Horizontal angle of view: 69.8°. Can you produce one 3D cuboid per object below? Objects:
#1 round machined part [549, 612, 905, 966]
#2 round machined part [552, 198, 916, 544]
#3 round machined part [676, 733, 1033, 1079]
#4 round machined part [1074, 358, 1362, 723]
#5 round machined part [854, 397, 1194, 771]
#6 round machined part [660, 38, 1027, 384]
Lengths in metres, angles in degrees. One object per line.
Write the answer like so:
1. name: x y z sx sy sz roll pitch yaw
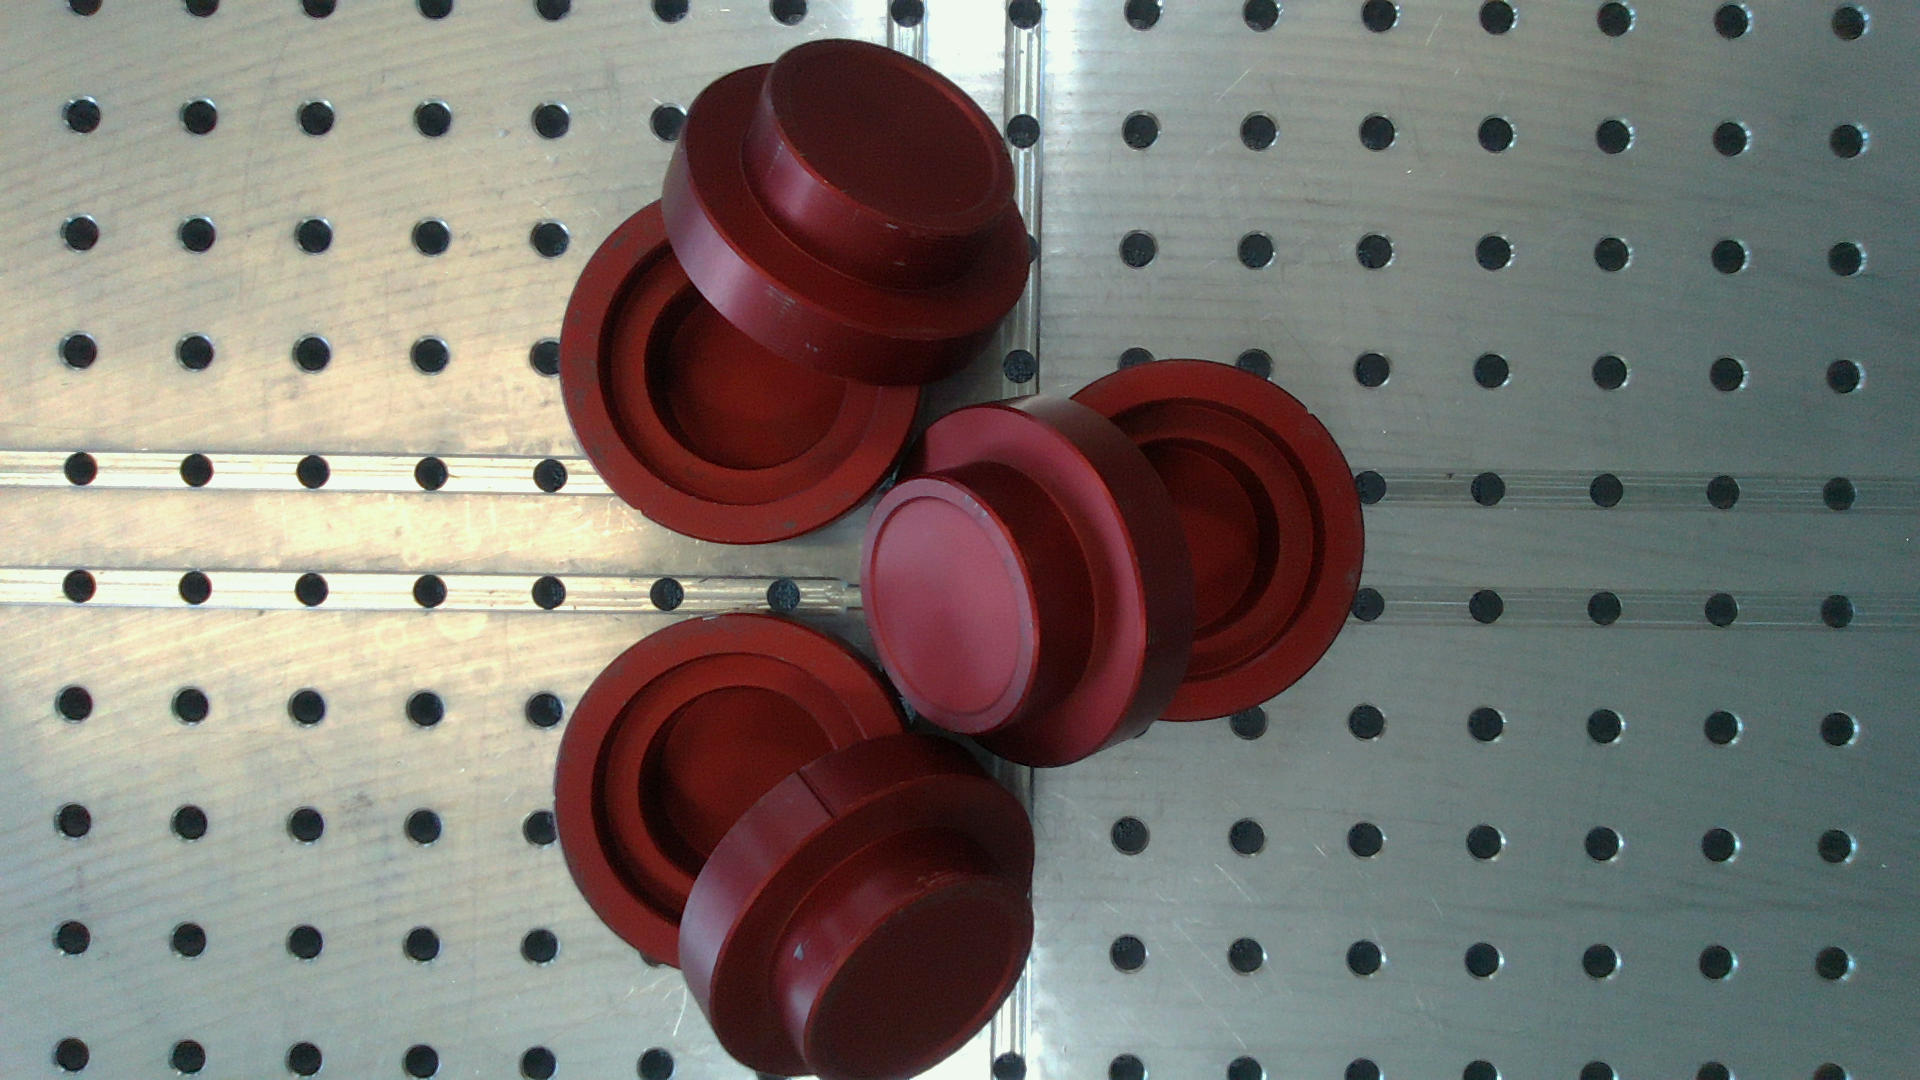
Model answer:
1. round machined part: -0.061 0.068 0.388 0.098 0.042 0.098 0 90 0
2. round machined part: -0.060 -0.048 0.388 0.098 0.042 0.098 0 90 0
3. round machined part: -0.020 0.103 0.361 0.098 0.042 0.098 -20 128 -27
4. round machined part: 0.059 0.000 0.389 0.098 0.042 0.098 0 90 0
5. round machined part: 0.009 0.013 0.359 0.042 0.098 0.098 -14 90 -42
6. round machined part: -0.025 -0.092 0.361 0.098 0.042 0.098 16 50 -20
